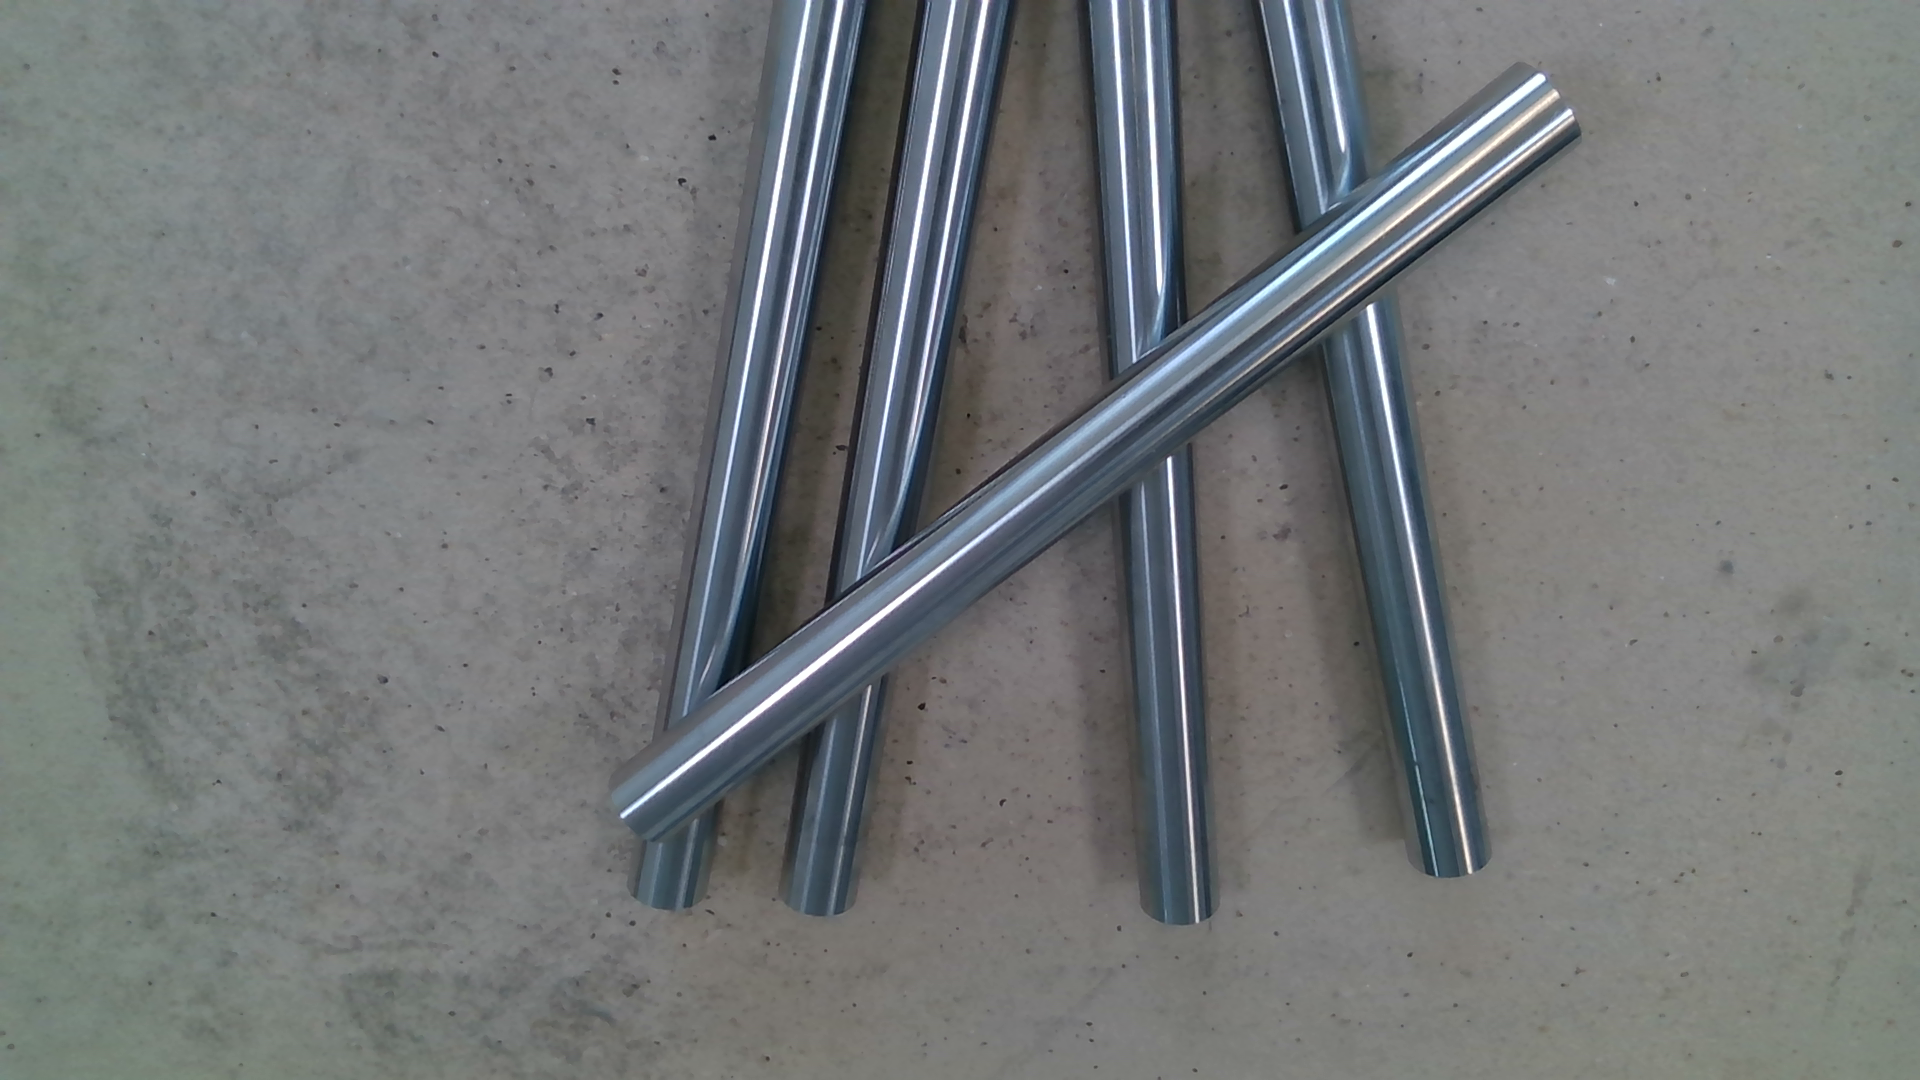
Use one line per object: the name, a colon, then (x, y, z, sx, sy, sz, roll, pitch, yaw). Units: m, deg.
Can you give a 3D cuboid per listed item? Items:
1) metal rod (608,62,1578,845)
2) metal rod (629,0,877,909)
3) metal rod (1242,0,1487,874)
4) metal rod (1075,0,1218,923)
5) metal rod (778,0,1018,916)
metal rod: (0.024, -0.014, 0.362, 0.300, 0.025, 0.025, -38, 106, 13)
metal rod: (-0.059, -0.029, 0.383, 0.025, 0.025, 0.301, 12, 110, -4)
metal rod: (0.112, -0.039, 0.380, 0.025, 0.025, 0.301, -15, 110, 5)
metal rod: (0.054, -0.026, 0.384, 0.025, 0.025, 0.301, -6, 110, 2)
metal rod: (-0.019, -0.028, 0.383, 0.025, 0.025, 0.301, 10, 110, -3)
